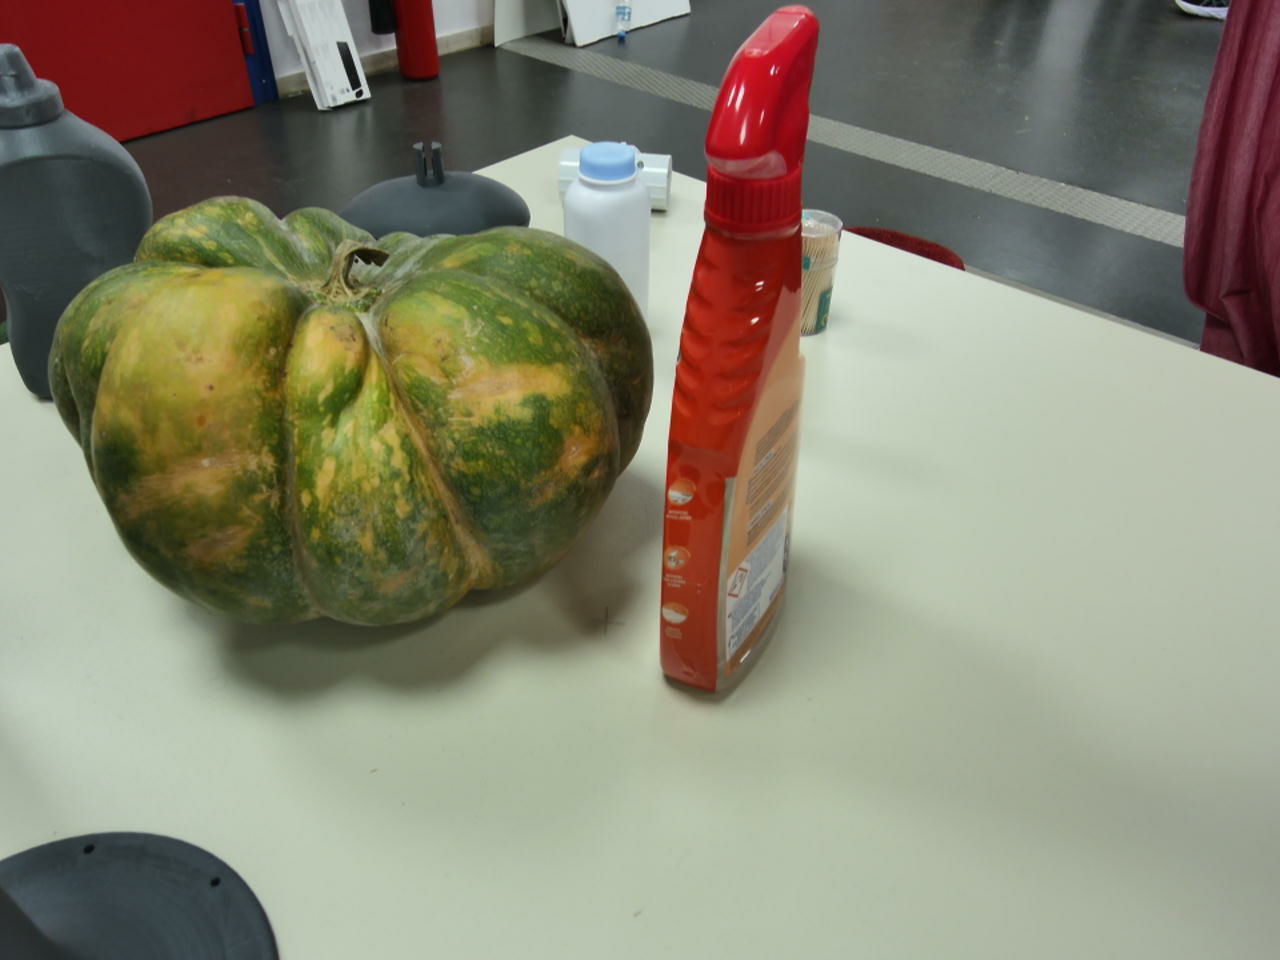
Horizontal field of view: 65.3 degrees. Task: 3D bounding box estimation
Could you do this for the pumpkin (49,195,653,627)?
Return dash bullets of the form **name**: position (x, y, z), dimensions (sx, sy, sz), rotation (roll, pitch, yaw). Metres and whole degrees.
- **pumpkin**: position (-0.130, -0.041, 0.463), dimensions (0.270, 0.173, 0.237), rotation (-7, 38, -10)
